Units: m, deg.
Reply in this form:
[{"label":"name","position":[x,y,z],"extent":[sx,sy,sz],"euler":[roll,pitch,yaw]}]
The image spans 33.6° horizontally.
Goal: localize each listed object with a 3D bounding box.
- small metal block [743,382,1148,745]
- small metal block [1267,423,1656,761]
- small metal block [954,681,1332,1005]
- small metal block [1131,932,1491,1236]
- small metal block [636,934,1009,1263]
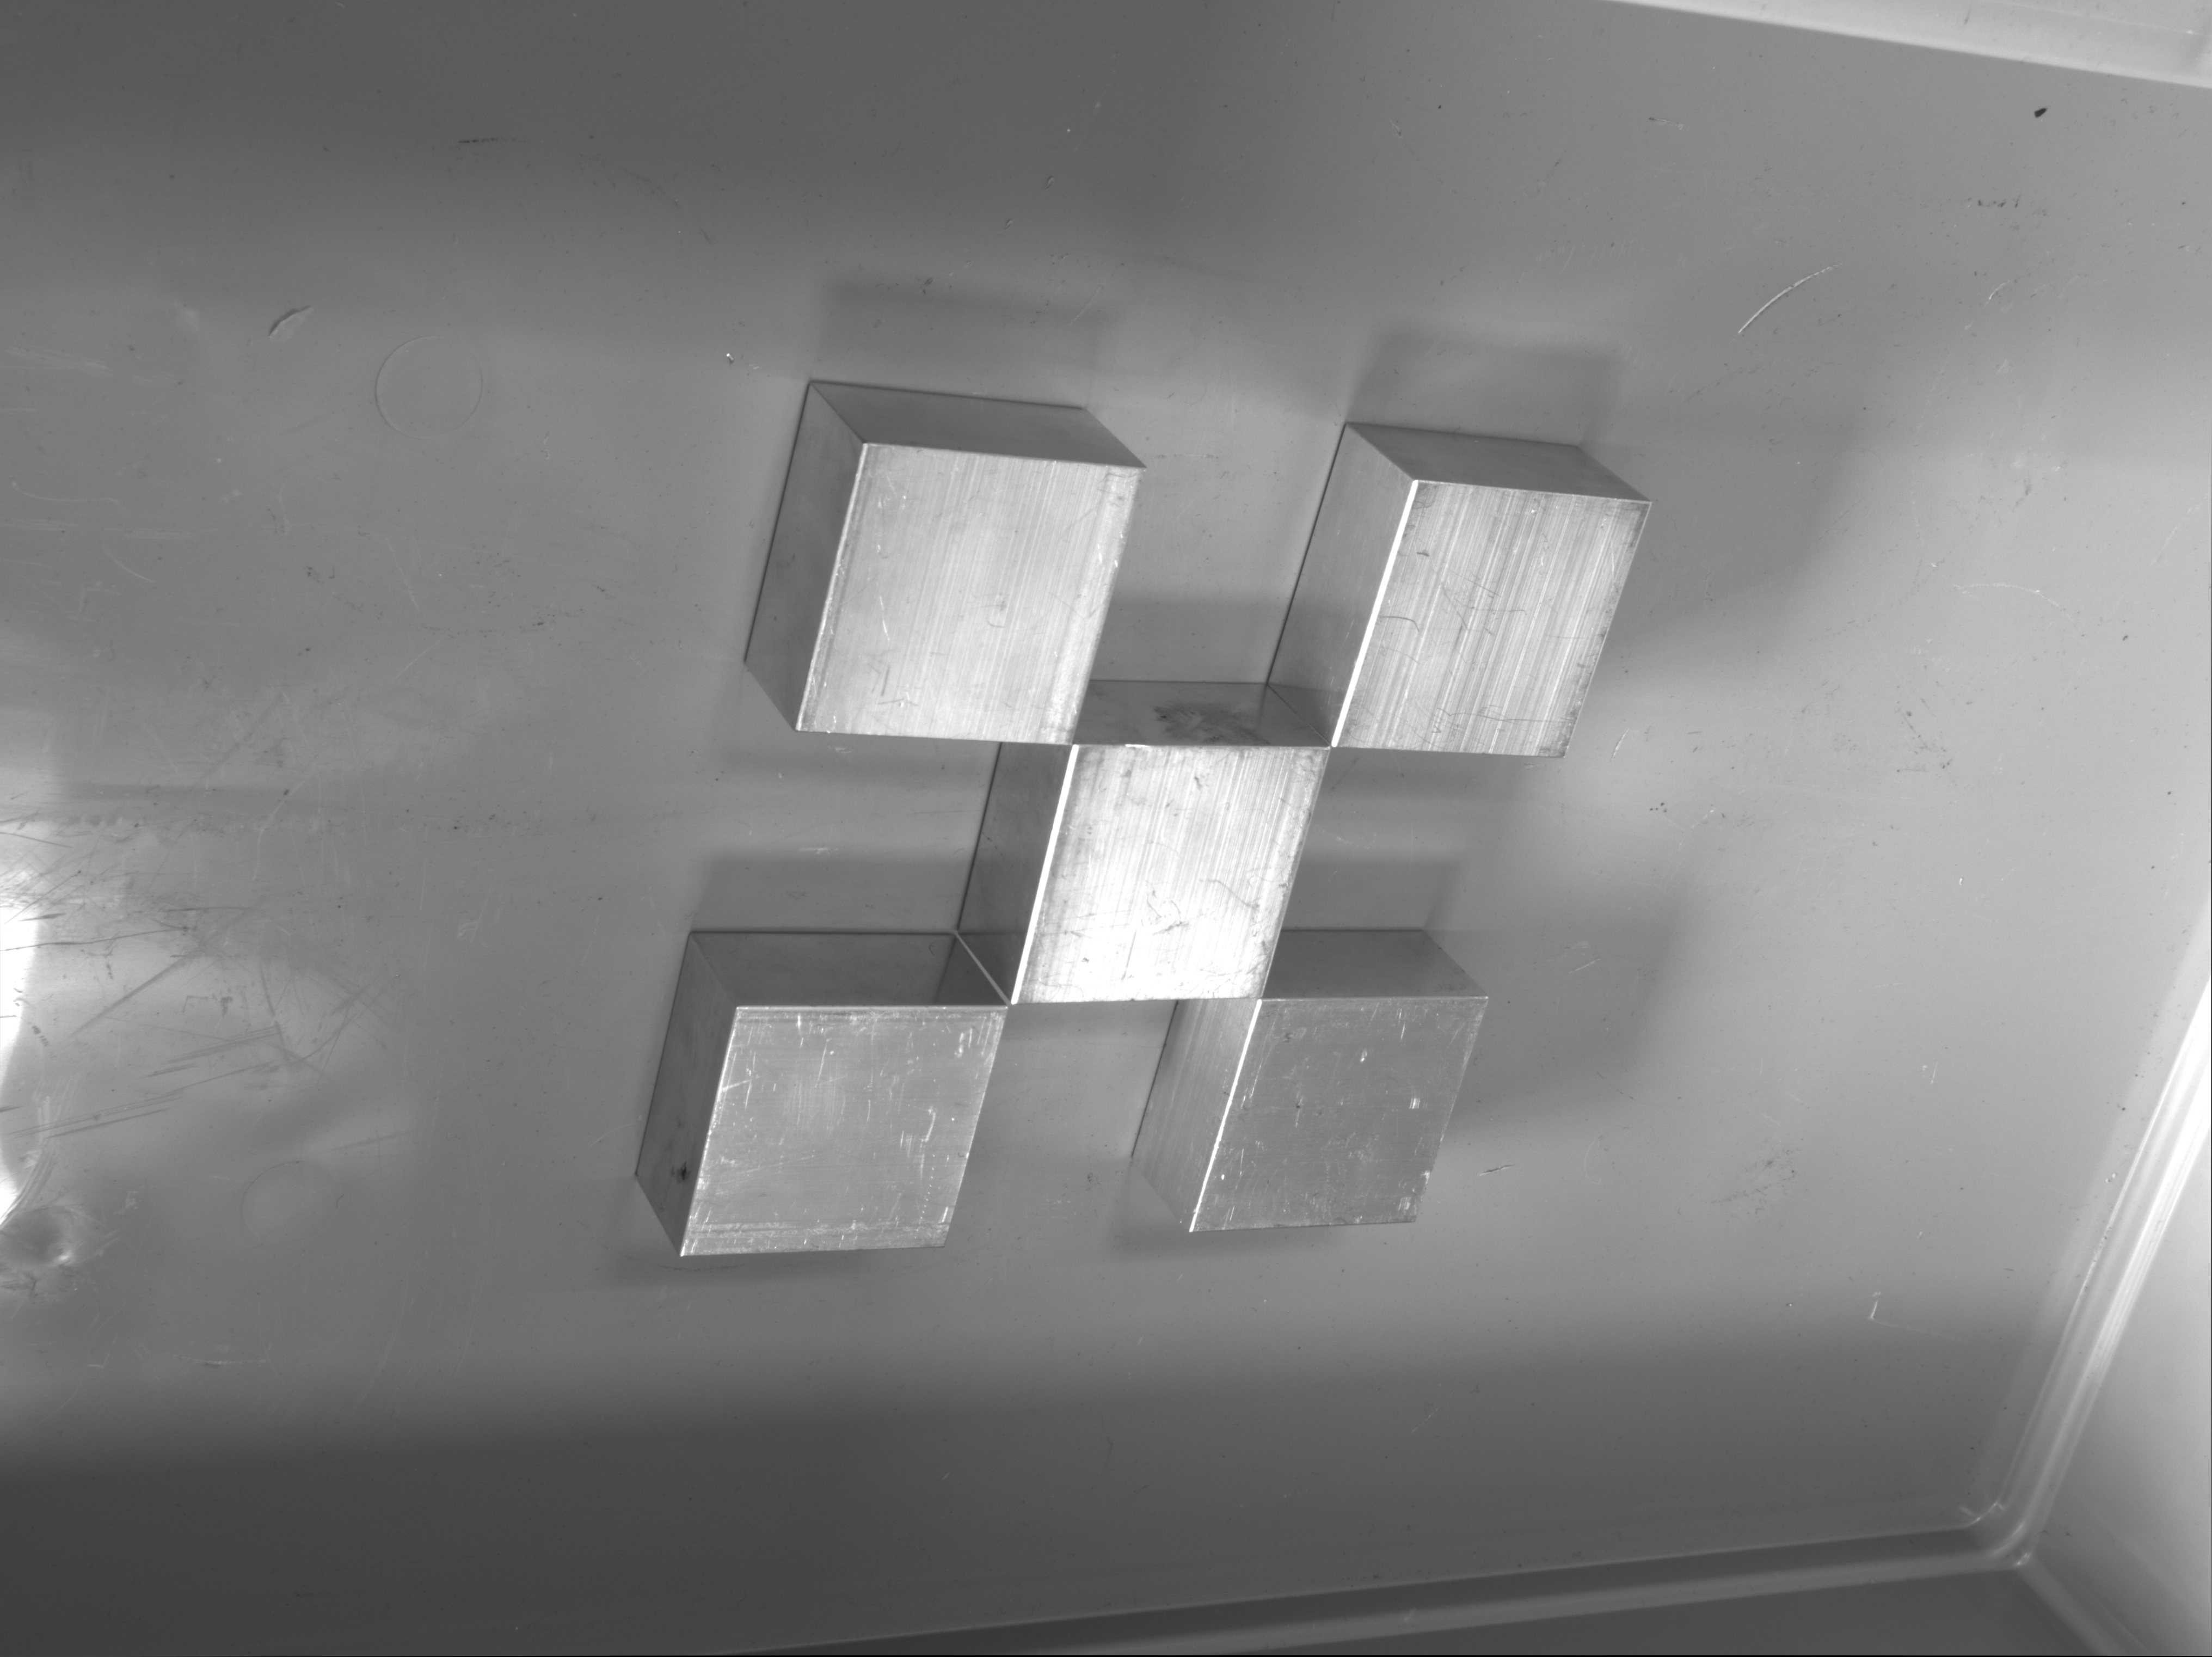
[{"label":"small metal block","position":[-0.027,-0.042,0.595],"extent":[0.050,0.025,0.050],"euler":[2,117,-29]},{"label":"small metal block","position":[0.062,-0.041,0.643],"extent":[0.050,0.025,0.050],"euler":[2,117,-29]},{"label":"small metal block","position":[0.006,0.003,0.639],"extent":[0.050,0.025,0.050],"euler":[0,118,-28]},{"label":"small metal block","position":[0.038,0.047,0.684],"extent":[0.050,0.025,0.050],"euler":[1,118,-29]},{"label":"small metal block","position":[-0.050,0.046,0.636],"extent":[0.050,0.025,0.050],"euler":[1,118,-29]}]
